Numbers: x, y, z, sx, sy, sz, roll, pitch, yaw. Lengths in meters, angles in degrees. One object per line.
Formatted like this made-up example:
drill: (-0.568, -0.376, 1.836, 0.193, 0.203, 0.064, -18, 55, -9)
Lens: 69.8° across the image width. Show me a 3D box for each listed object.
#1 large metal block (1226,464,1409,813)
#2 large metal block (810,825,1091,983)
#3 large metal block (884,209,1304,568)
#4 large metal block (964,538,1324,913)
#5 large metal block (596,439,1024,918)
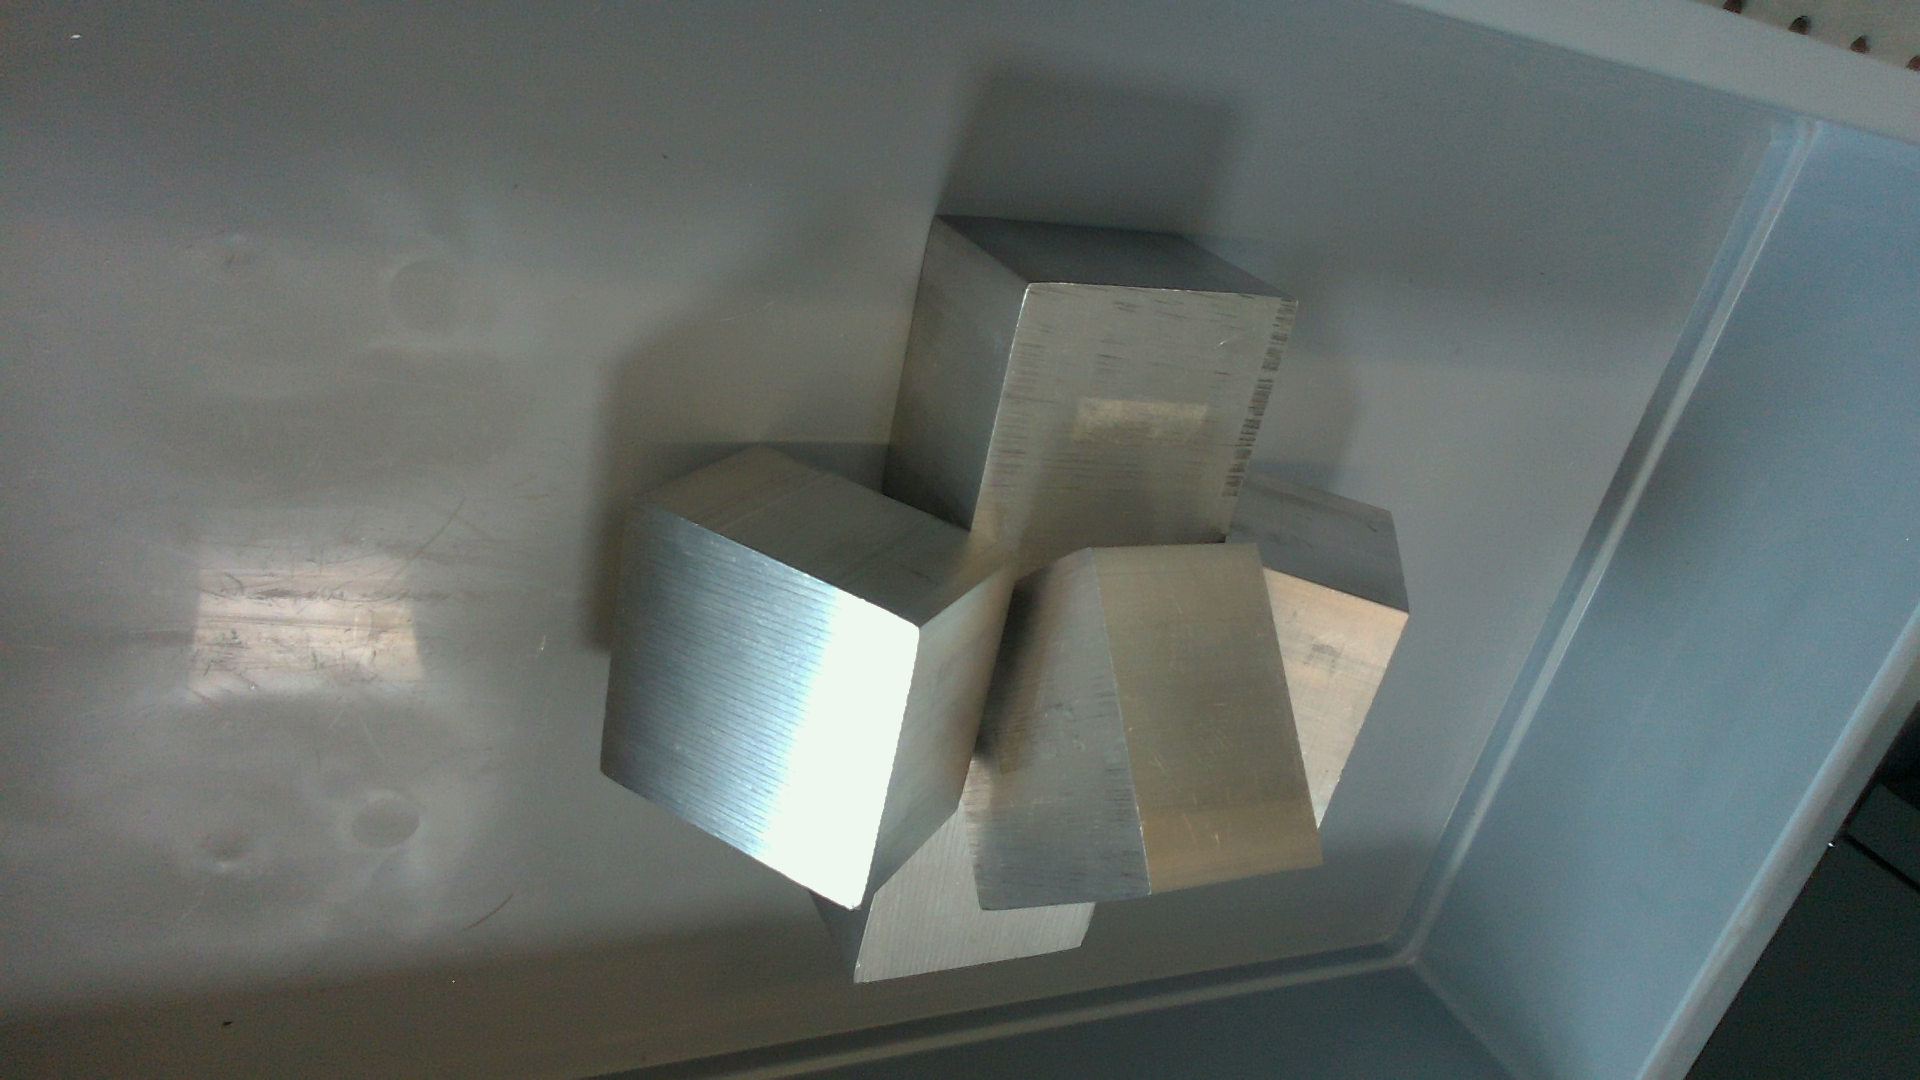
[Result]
large metal block: (0.093, 0.031, 0.413, 0.050, 0.080, 0.080, 18, 115, 6)
large metal block: (0.001, 0.083, 0.424, 0.080, 0.050, 0.080, 1, 118, -29)
large metal block: (0.032, -0.038, 0.363, 0.080, 0.050, 0.080, -2, 119, -28)
large metal block: (0.039, 0.049, 0.353, 0.050, 0.080, 0.080, -2, 75, -29)
large metal block: (-0.039, 0.031, 0.341, 0.050, 0.080, 0.080, -33, 142, -56)
